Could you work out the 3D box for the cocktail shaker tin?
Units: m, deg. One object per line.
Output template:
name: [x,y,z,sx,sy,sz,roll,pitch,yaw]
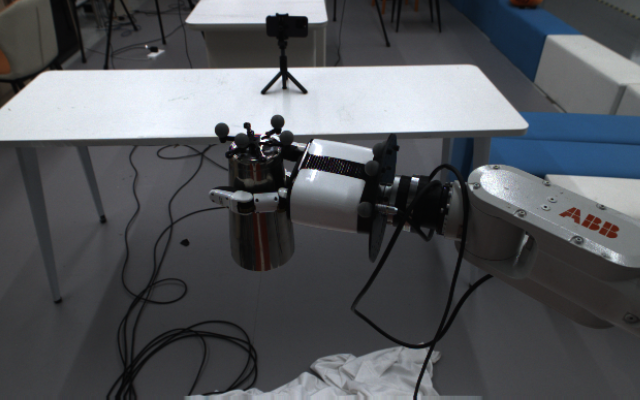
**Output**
cocktail shaker tin: [-0.077,0.000,0.644,0.093,0.170,0.093,1,39,-1]
